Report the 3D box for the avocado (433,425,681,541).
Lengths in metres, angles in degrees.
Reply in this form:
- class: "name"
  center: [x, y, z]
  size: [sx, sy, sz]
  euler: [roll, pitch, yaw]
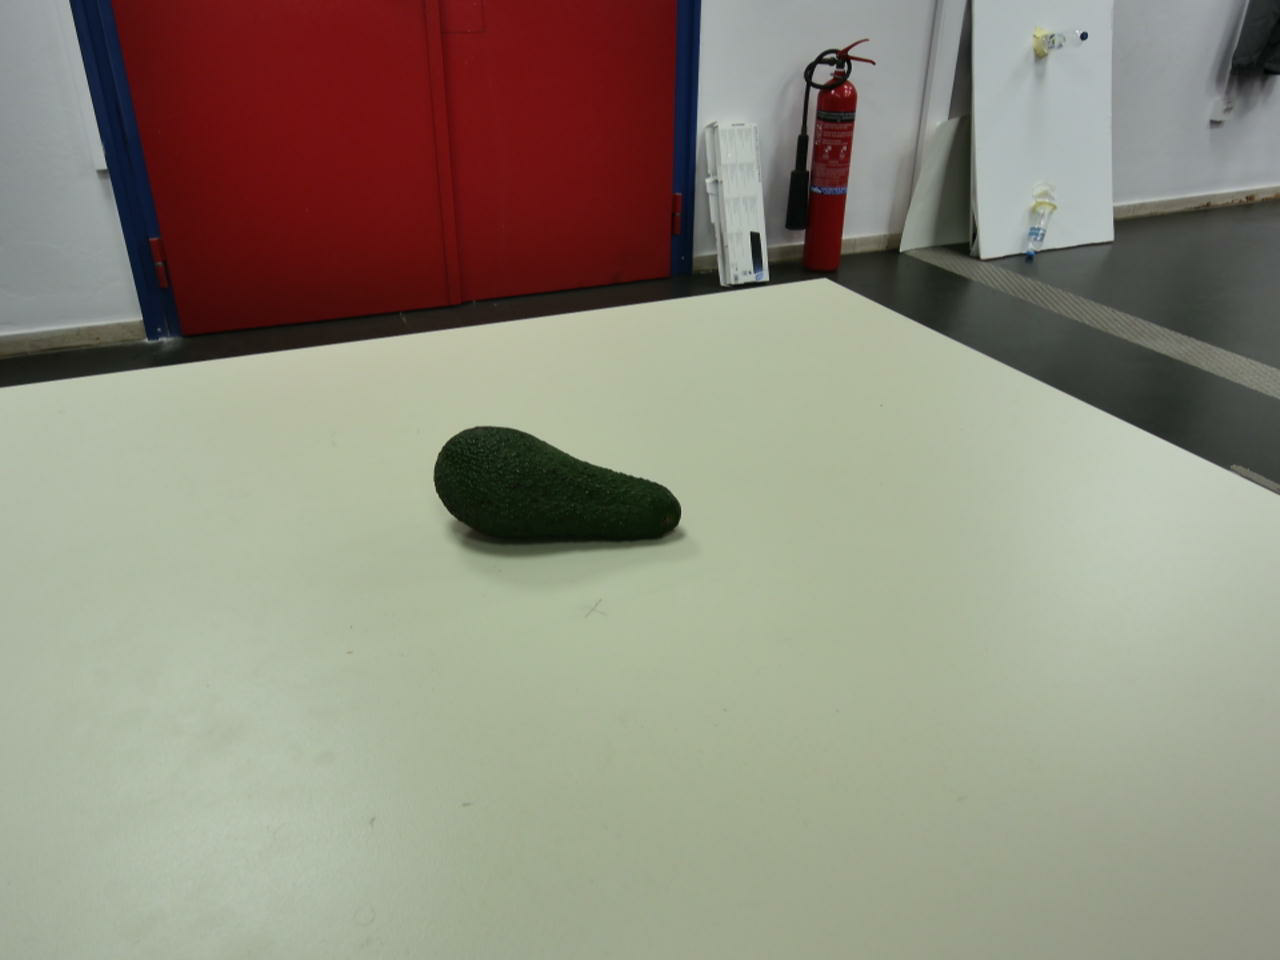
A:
- class: "avocado"
  center: [-0.048, -0.001, 0.577]
  size: [0.141, 0.067, 0.063]
  euler: [-3, 27, -9]
